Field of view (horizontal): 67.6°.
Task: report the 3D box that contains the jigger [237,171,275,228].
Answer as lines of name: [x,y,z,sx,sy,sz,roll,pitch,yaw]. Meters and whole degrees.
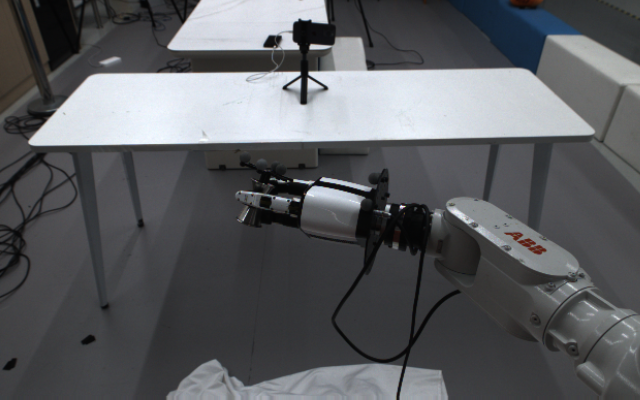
jigger: [-0.101,0.003,0.747,0.043,0.071,0.043,21,6,-2]
